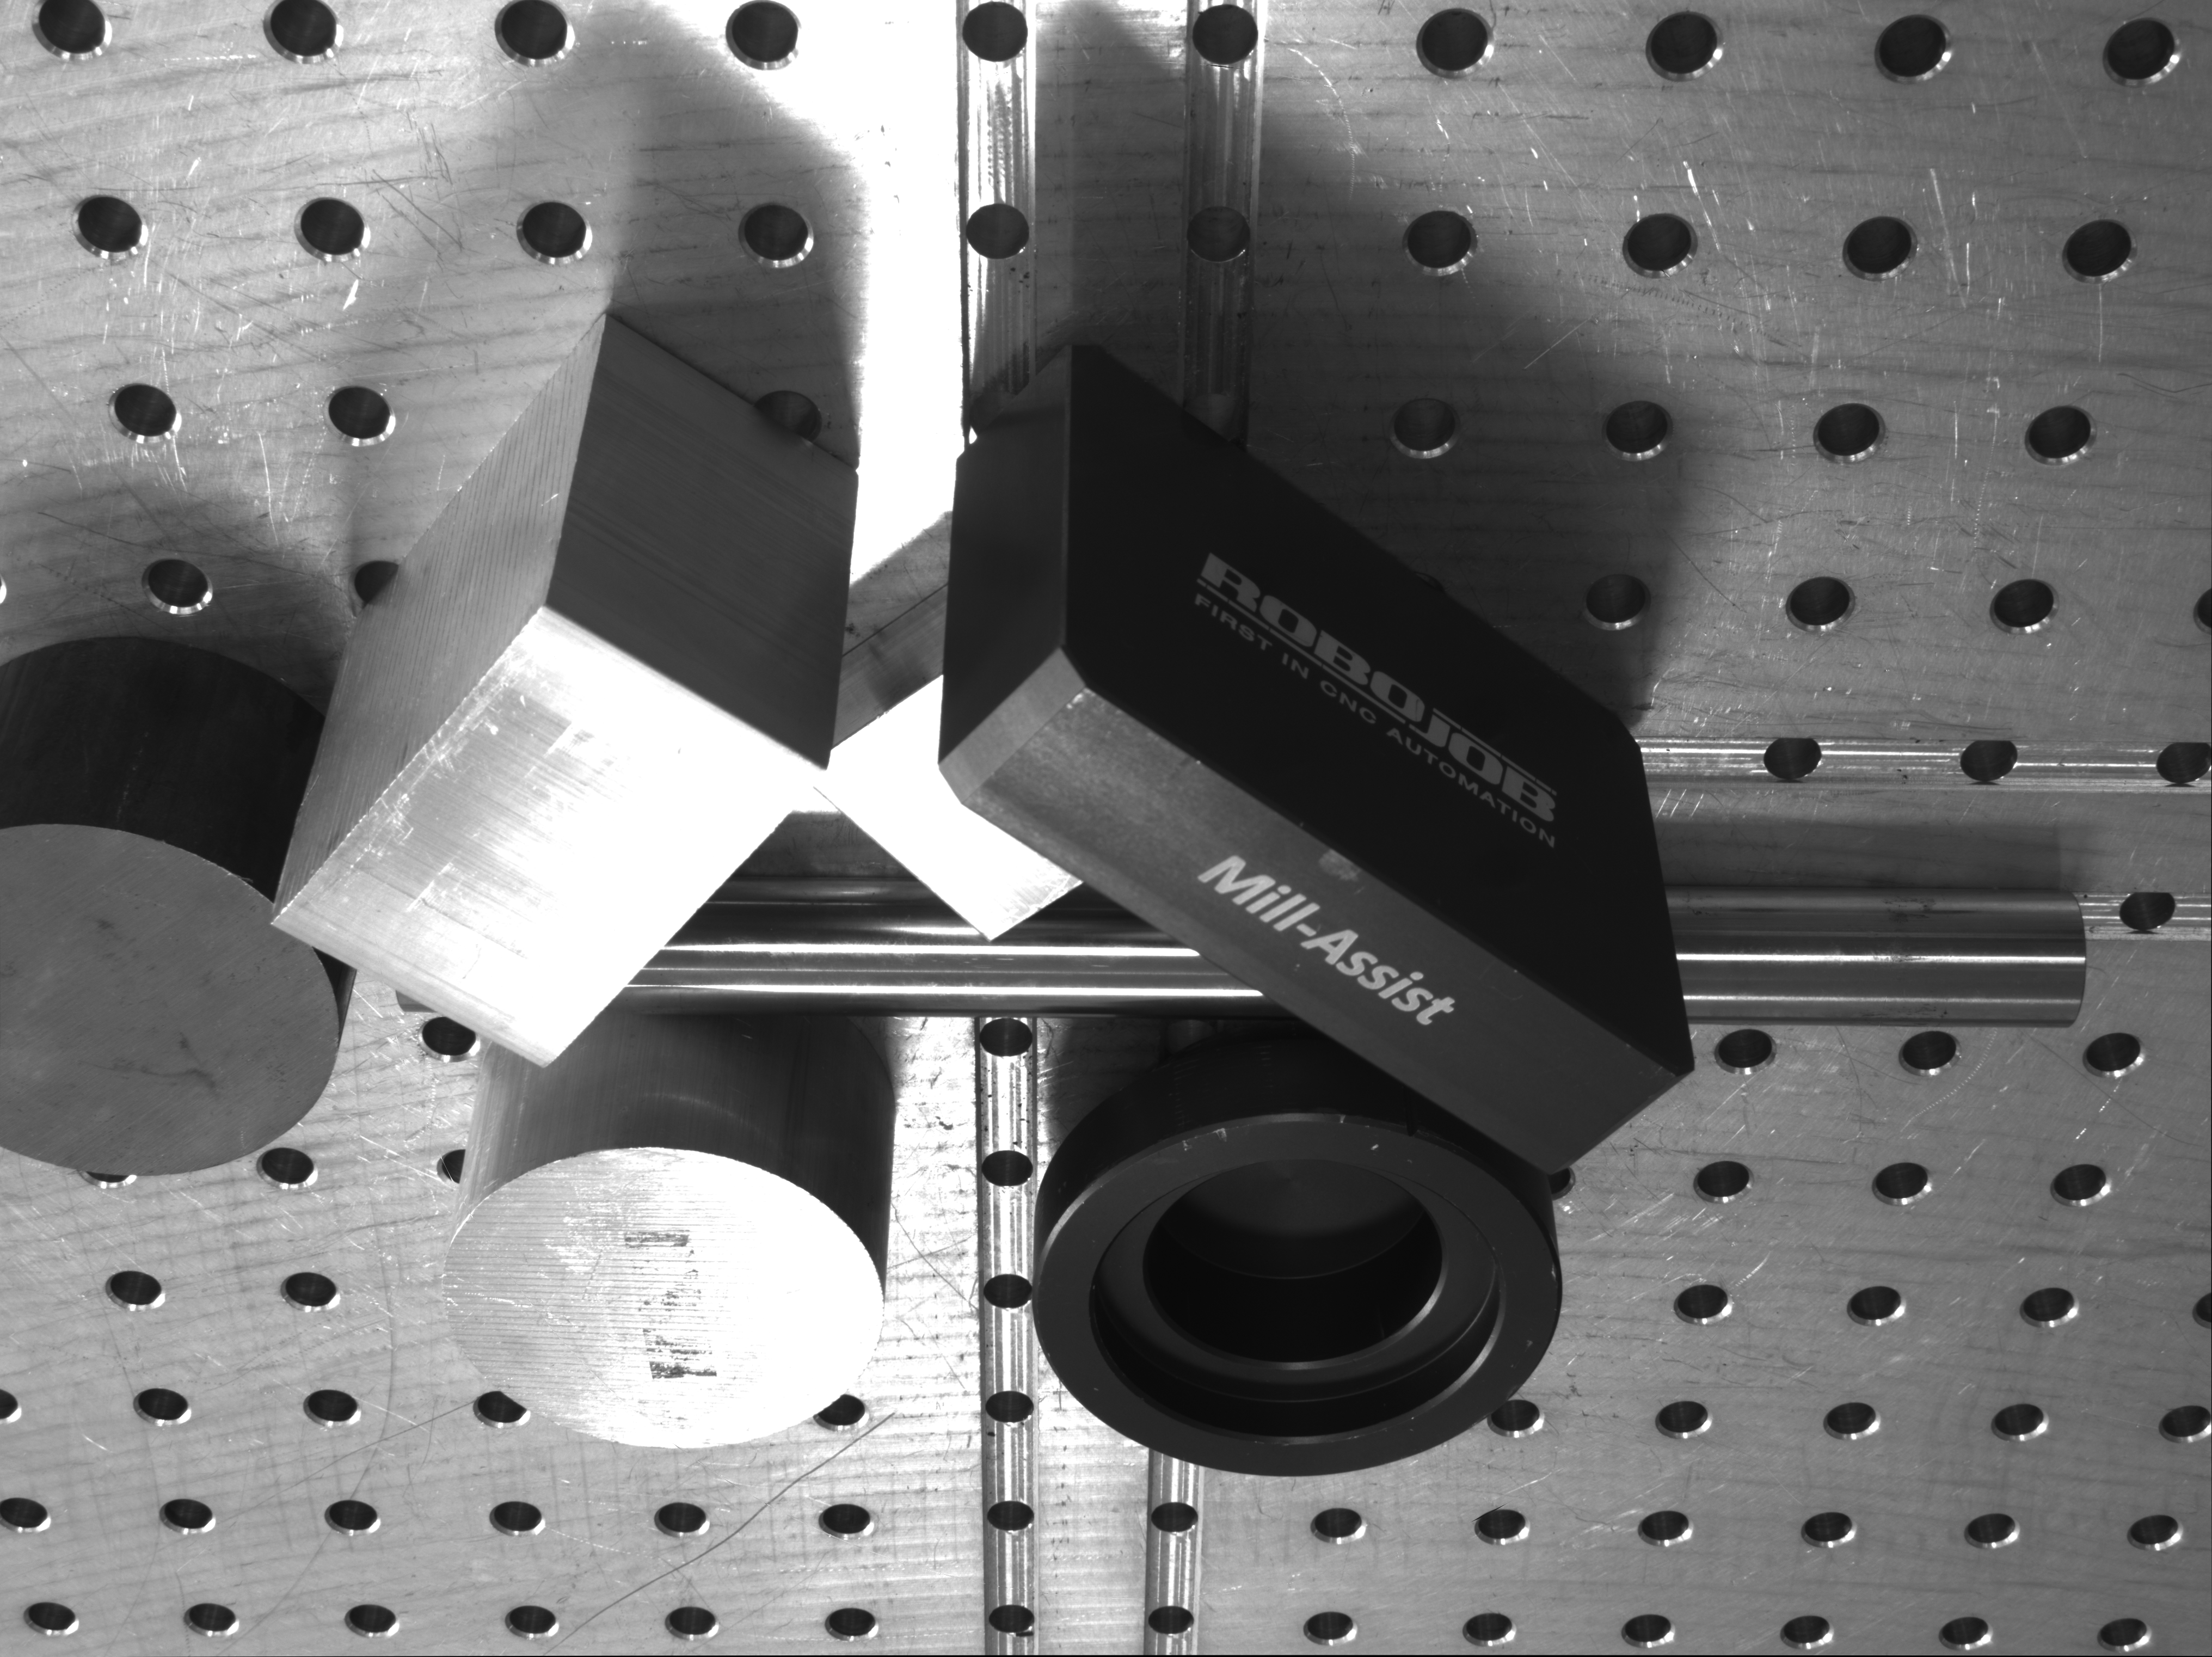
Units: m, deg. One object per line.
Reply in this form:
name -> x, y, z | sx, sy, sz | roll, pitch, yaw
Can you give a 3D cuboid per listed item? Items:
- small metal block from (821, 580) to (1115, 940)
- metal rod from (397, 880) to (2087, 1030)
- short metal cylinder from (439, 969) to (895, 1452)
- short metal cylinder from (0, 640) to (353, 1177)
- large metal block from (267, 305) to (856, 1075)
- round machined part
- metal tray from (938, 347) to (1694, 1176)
small metal block -> -0.018, -0.015, 0.629 | 0.050, 0.025, 0.050 | -32, 123, 24
metal rod -> 0.024, 0.023, 0.661 | 0.300, 0.025, 0.025 | 1, 130, -1
short metal cylinder -> -0.081, 0.071, 0.684 | 0.080, 0.050, 0.080 | 0, 130, 0
short metal cylinder -> -0.170, 0.014, 0.636 | 0.080, 0.050, 0.080 | 0, 130, 0
large metal block -> -0.086, -0.022, 0.588 | 0.050, 0.080, 0.080 | 31, 123, -24
round machined part -> 0.035, 0.075, 0.694 | 0.098, 0.042, 0.098 | 0, 130, 0
metal tray -> 0.034, -0.011, 0.590 | 0.130, 0.090, 0.030 | 33, 123, -24
